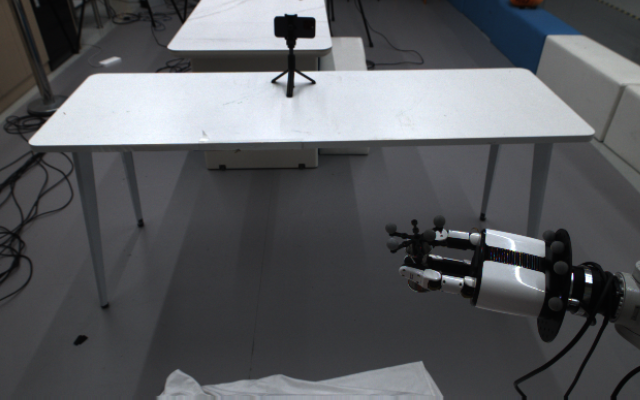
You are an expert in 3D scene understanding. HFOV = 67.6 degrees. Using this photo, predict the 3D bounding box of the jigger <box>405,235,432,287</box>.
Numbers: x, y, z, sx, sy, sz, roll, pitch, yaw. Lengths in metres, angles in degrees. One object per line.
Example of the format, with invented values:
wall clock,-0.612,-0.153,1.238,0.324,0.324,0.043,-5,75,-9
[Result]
jigger,0.149,0.096,0.719,0.043,0.071,0.043,-10,31,6
